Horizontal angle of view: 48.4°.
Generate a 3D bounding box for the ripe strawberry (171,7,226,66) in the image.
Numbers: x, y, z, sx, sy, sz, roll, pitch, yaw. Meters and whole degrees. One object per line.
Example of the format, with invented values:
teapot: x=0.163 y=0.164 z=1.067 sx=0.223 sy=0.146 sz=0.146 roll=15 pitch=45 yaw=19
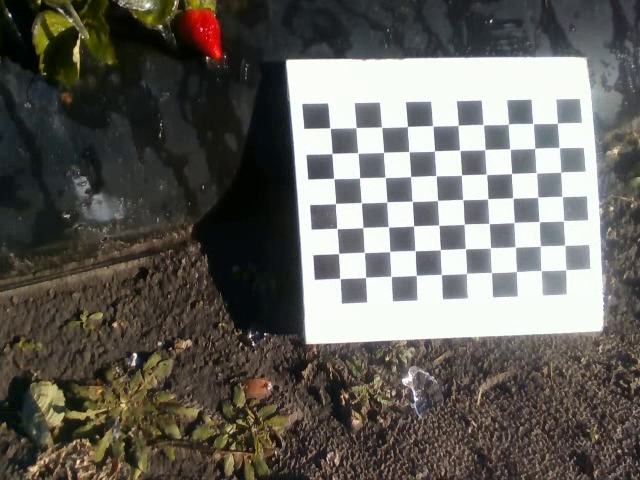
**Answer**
ripe strawberry: x=-0.088 y=-0.199 z=0.645 sx=0.041 sy=0.052 sz=0.040 roll=-19 pitch=-8 yaw=-9
